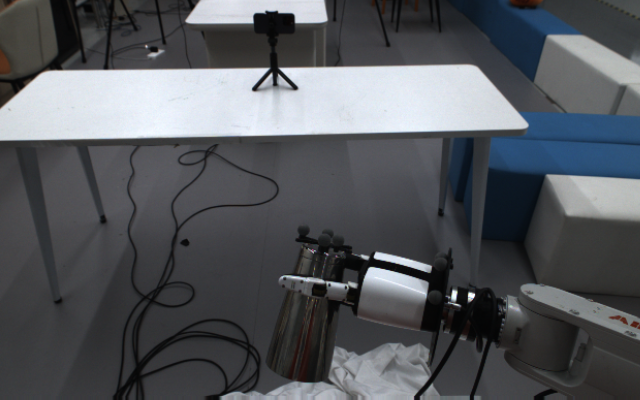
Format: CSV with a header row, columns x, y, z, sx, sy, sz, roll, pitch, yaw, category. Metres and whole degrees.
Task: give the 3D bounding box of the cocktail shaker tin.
x,y,z,sx,sy,sz,roll,pitch,yaw,category
-0.011,0.150,0.677,0.093,0.170,0.093,12,3,-1,cocktail shaker tin
